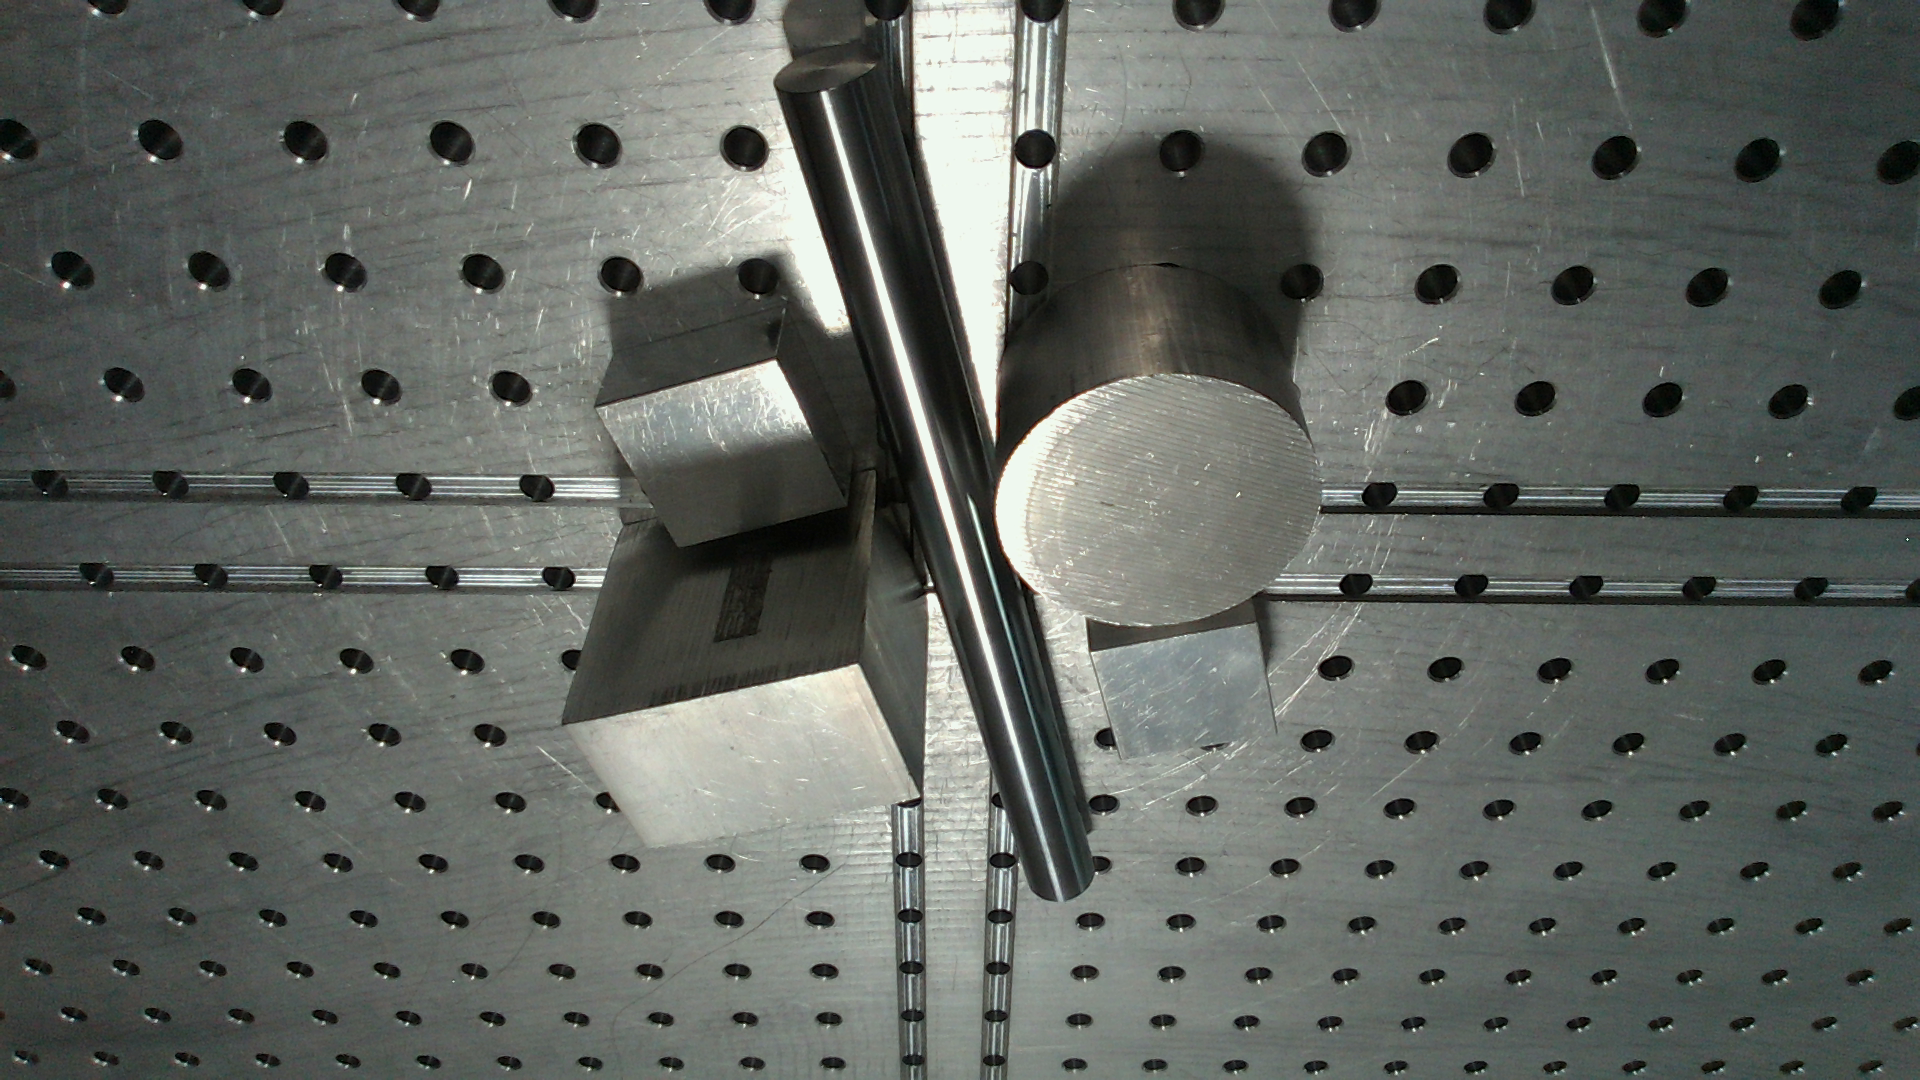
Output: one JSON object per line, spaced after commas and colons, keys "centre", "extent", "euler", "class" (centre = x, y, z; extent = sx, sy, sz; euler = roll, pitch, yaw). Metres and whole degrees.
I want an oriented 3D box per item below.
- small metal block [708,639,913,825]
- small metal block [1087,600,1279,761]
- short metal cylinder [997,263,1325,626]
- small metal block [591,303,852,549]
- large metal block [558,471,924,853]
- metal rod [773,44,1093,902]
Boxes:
{"centre": [-0.047, 0.063, 0.447], "extent": [0.050, 0.025, 0.050], "euler": [-12, 129, 10], "class": "small metal block"}
{"centre": [0.069, 0.039, 0.426], "extent": [0.050, 0.025, 0.050], "euler": [-12, 129, 9], "class": "small metal block"}
{"centre": [0.049, -0.024, 0.357], "extent": [0.080, 0.050, 0.080], "euler": [0, 130, 0], "class": "short metal cylinder"}
{"centre": [-0.062, -0.030, 0.368], "extent": [0.050, 0.025, 0.050], "euler": [-14, 129, 11], "class": "small metal block"}
{"centre": [-0.055, 0.033, 0.383], "extent": [0.080, 0.080, 0.050], "euler": [-12, 129, 10], "class": "large metal block"}
{"centre": [0.003, 0.007, 0.399], "extent": [0.025, 0.025, 0.300], "euler": [-10, 130, 8], "class": "metal rod"}
